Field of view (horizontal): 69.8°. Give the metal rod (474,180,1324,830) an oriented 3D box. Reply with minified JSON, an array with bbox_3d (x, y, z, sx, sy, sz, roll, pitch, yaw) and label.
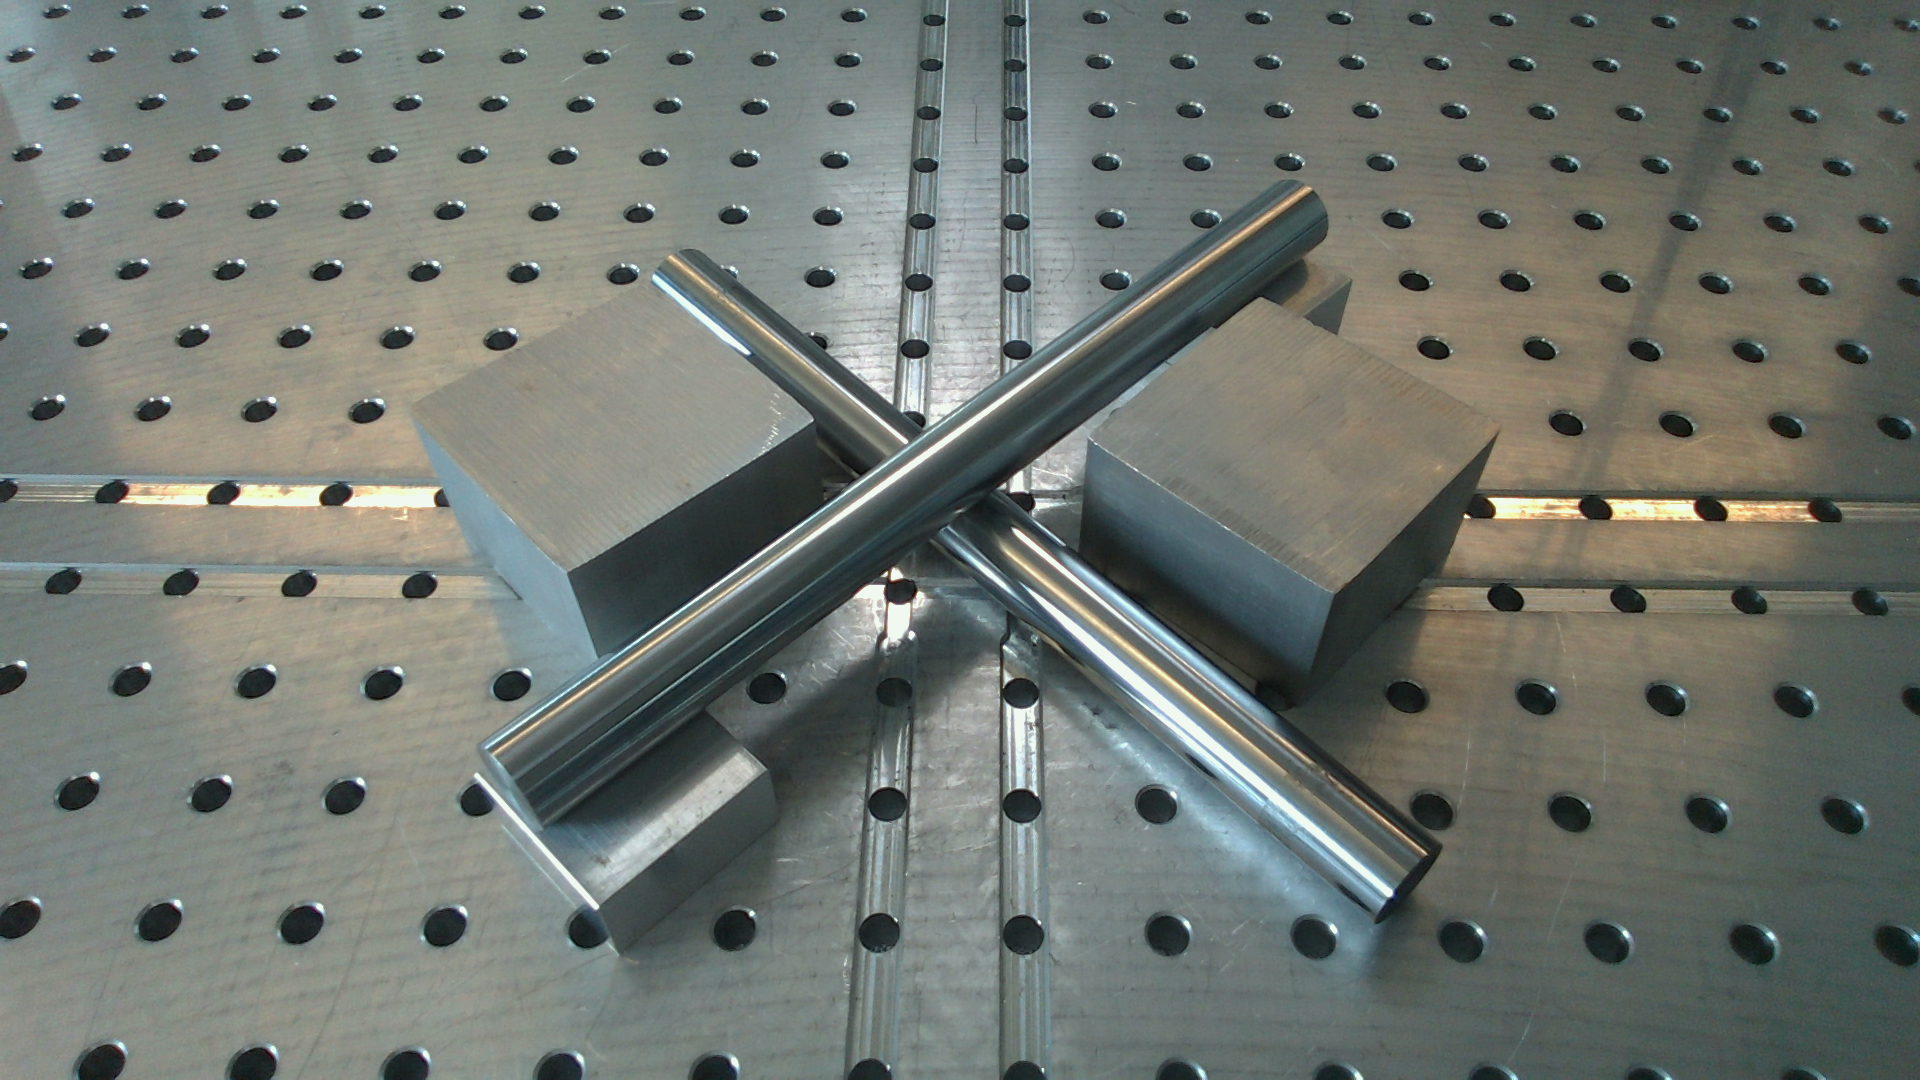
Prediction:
[{"bbox_3d":[0.003,-0.025,0.382,0.025,0.025,0.301,37,59,27],"label":"metal rod"}]

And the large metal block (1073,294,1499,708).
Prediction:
[{"bbox_3d":[0.090,-0.014,0.390,0.080,0.050,0.080,36,58,26],"label":"large metal block"}]

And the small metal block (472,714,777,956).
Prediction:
[{"bbox_3d":[-0.082,0.064,0.341,0.050,0.025,0.050,37,59,27],"label":"small metal block"}]

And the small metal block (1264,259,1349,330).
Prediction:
[{"bbox_3d":[0.092,-0.077,0.460,0.050,0.025,0.050,-37,59,-27],"label":"small metal block"}]

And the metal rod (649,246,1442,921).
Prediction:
[{"bbox_3d":[0.005,-0.004,0.397,0.025,0.025,0.299,-35,58,-26],"label":"metal rod"}]

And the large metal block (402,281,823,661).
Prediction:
[{"bbox_3d":[-0.096,-0.018,0.394,0.080,0.050,0.080,-36,58,-26],"label":"large metal block"}]
